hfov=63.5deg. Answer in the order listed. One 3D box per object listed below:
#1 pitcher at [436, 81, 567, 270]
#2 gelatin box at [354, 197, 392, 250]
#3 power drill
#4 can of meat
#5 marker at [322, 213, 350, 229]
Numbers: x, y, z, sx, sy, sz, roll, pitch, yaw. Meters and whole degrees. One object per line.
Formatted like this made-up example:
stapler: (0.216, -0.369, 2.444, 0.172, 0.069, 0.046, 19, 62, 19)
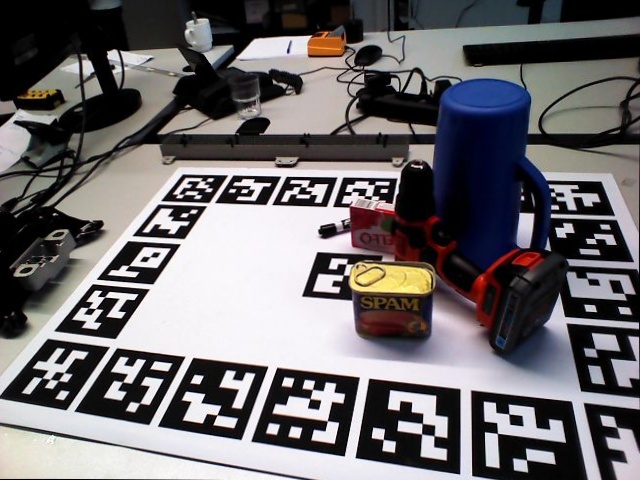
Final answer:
pitcher: (0.230, -0.077, 0.684, 0.132, 0.243, 0.189, -37, 39, -27)
gelatin box: (0.098, -0.021, 0.768, 0.090, 0.073, 0.030, 12, 46, 22)
power drill: (0.161, 0.002, 0.635, 0.057, 0.185, 0.187, -35, 50, -26)
can of meat: (0.086, 0.074, 0.633, 0.102, 0.084, 0.057, 3, 37, 14)
marker: (0.062, -0.039, 0.837, 0.121, 0.020, 0.019, -14, 38, -5)
